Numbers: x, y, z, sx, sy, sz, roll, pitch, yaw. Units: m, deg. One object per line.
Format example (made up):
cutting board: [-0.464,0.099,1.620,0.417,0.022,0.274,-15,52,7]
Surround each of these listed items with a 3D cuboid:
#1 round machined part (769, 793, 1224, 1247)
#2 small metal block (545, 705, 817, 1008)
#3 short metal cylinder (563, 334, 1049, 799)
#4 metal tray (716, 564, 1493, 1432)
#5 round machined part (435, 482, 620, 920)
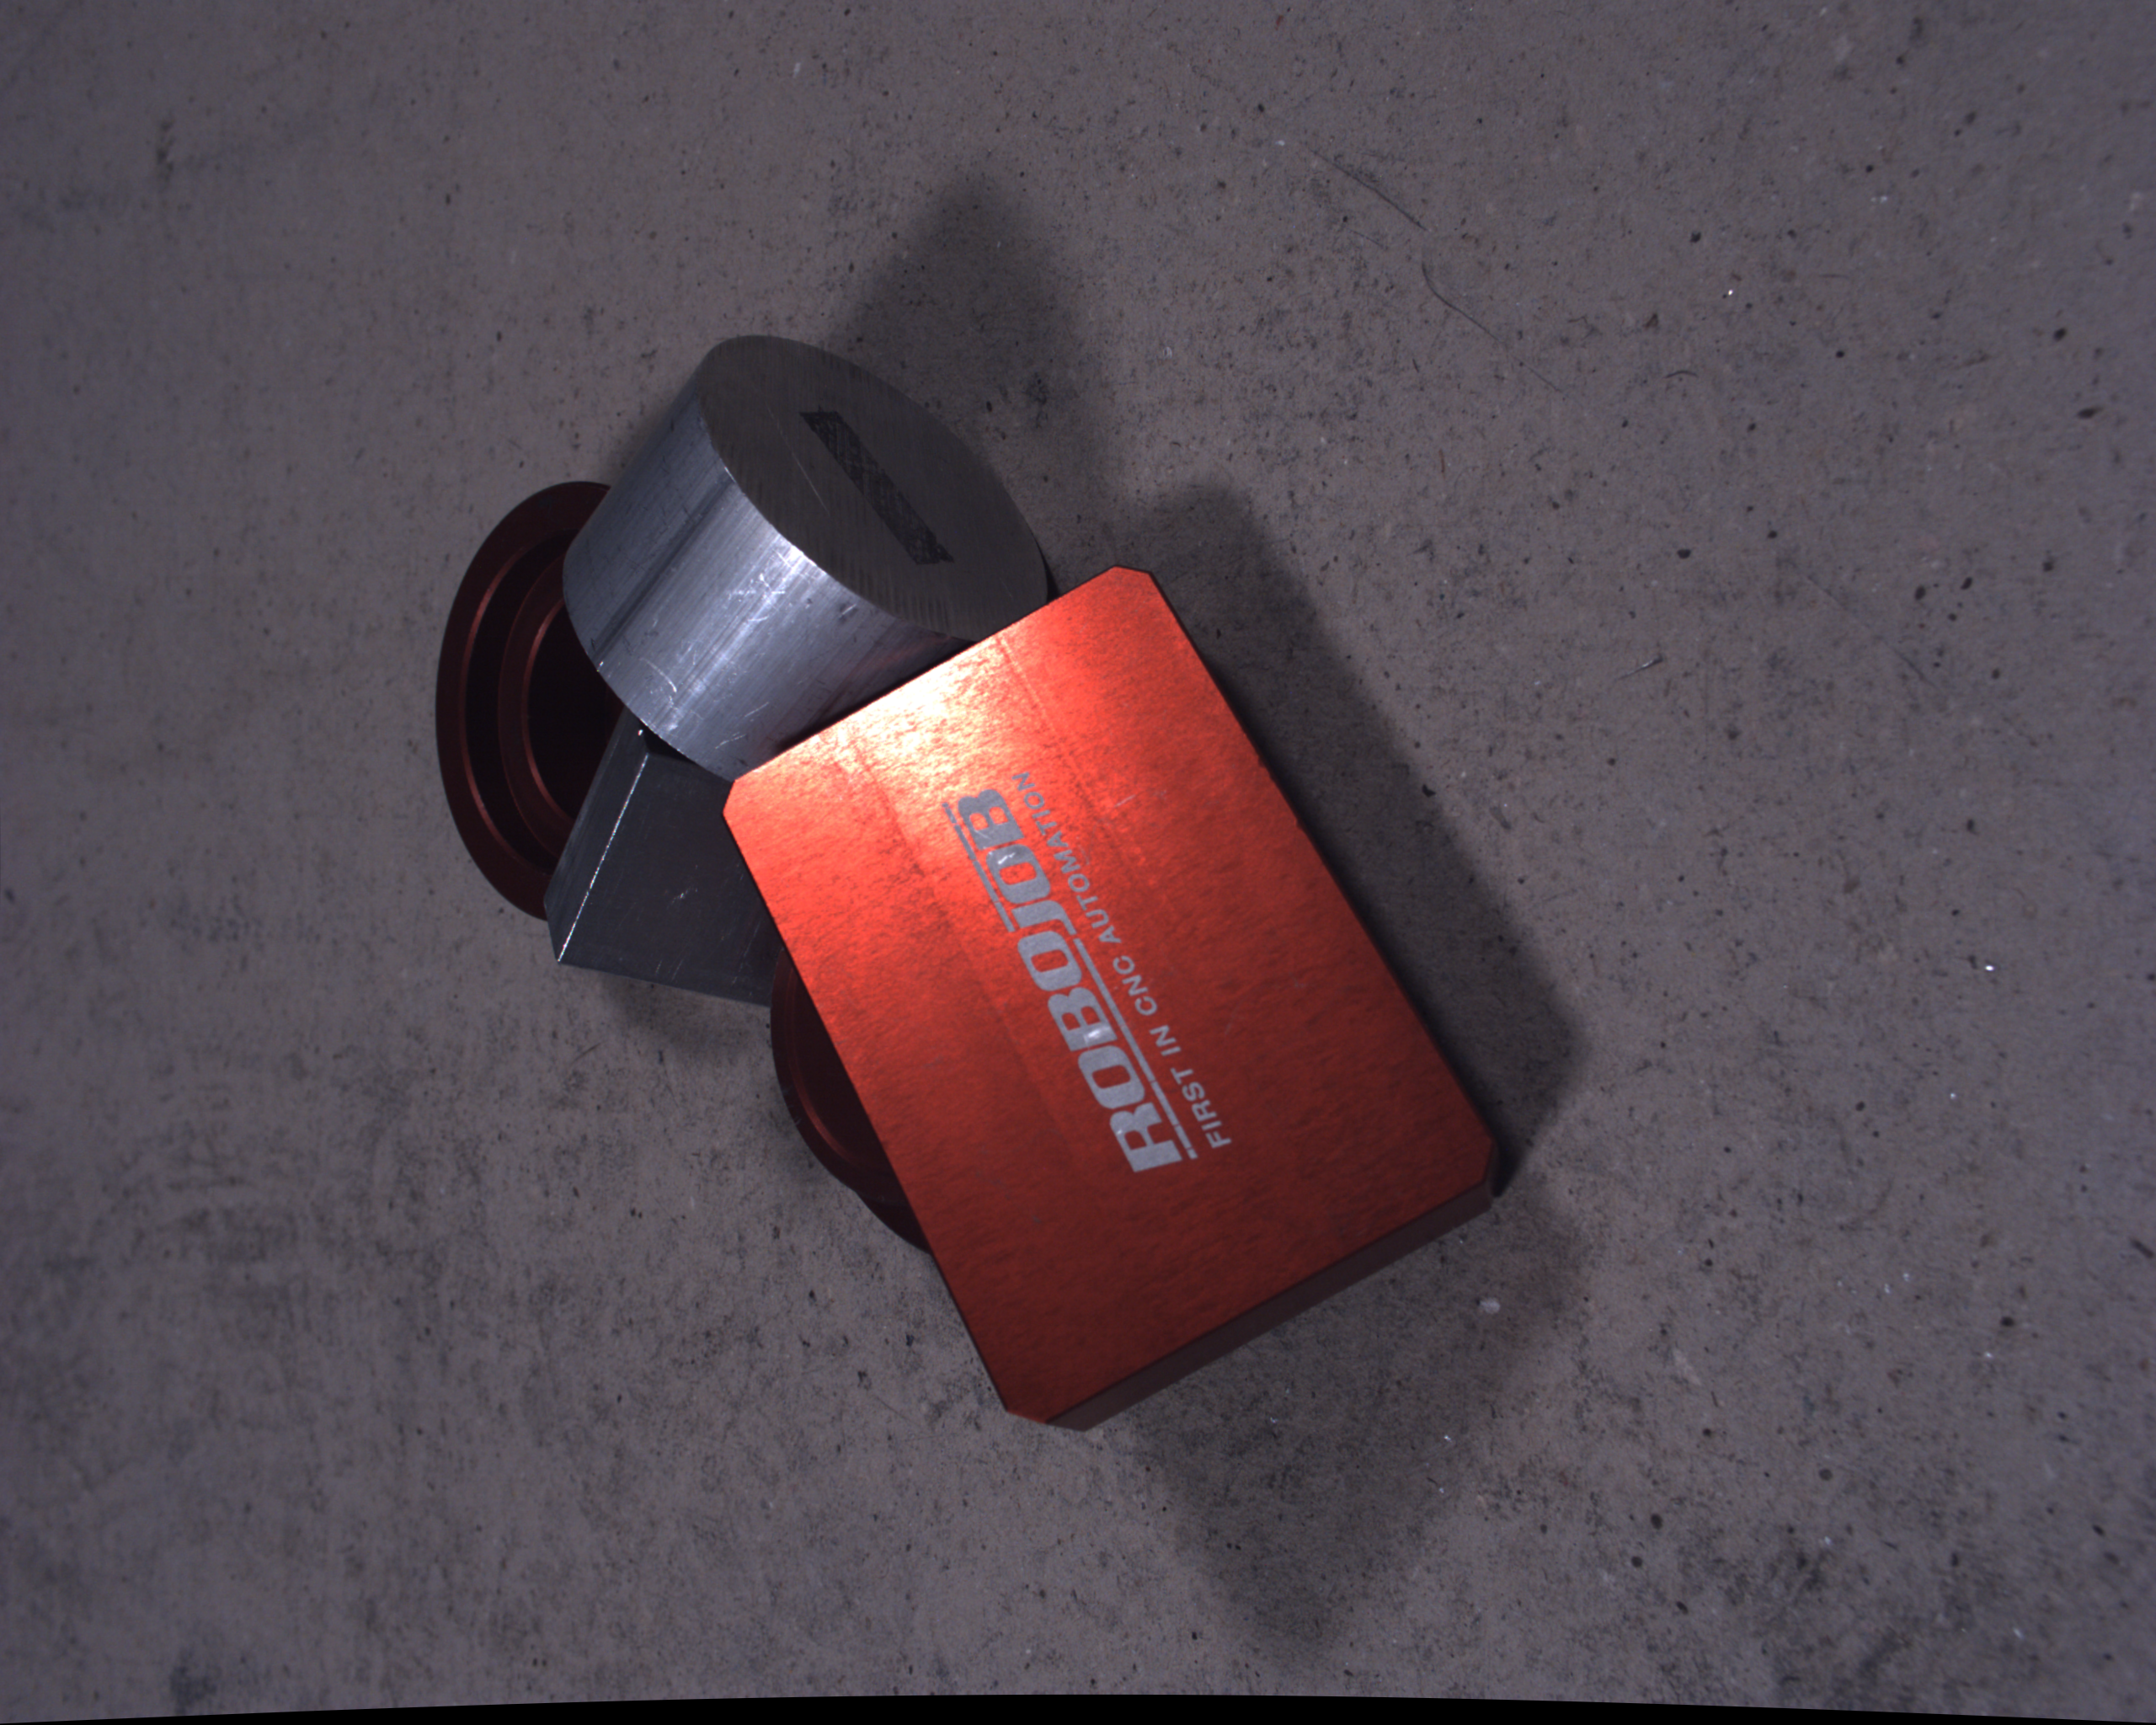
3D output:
round machined part: [-0.023,0.031,0.412,0.098,0.042,0.097,0,90,39]
small metal block: [-0.075,-0.001,0.426,0.050,0.050,0.025,-63,31,20]
short metal cylinder: [-0.053,-0.058,0.413,0.050,0.081,0.080,-45,63,30]
metal tray: [0.003,0.022,0.370,0.090,0.030,0.130,-29,69,2]
round machined part: [-0.100,-0.035,0.475,0.098,0.042,0.097,0,90,39]
